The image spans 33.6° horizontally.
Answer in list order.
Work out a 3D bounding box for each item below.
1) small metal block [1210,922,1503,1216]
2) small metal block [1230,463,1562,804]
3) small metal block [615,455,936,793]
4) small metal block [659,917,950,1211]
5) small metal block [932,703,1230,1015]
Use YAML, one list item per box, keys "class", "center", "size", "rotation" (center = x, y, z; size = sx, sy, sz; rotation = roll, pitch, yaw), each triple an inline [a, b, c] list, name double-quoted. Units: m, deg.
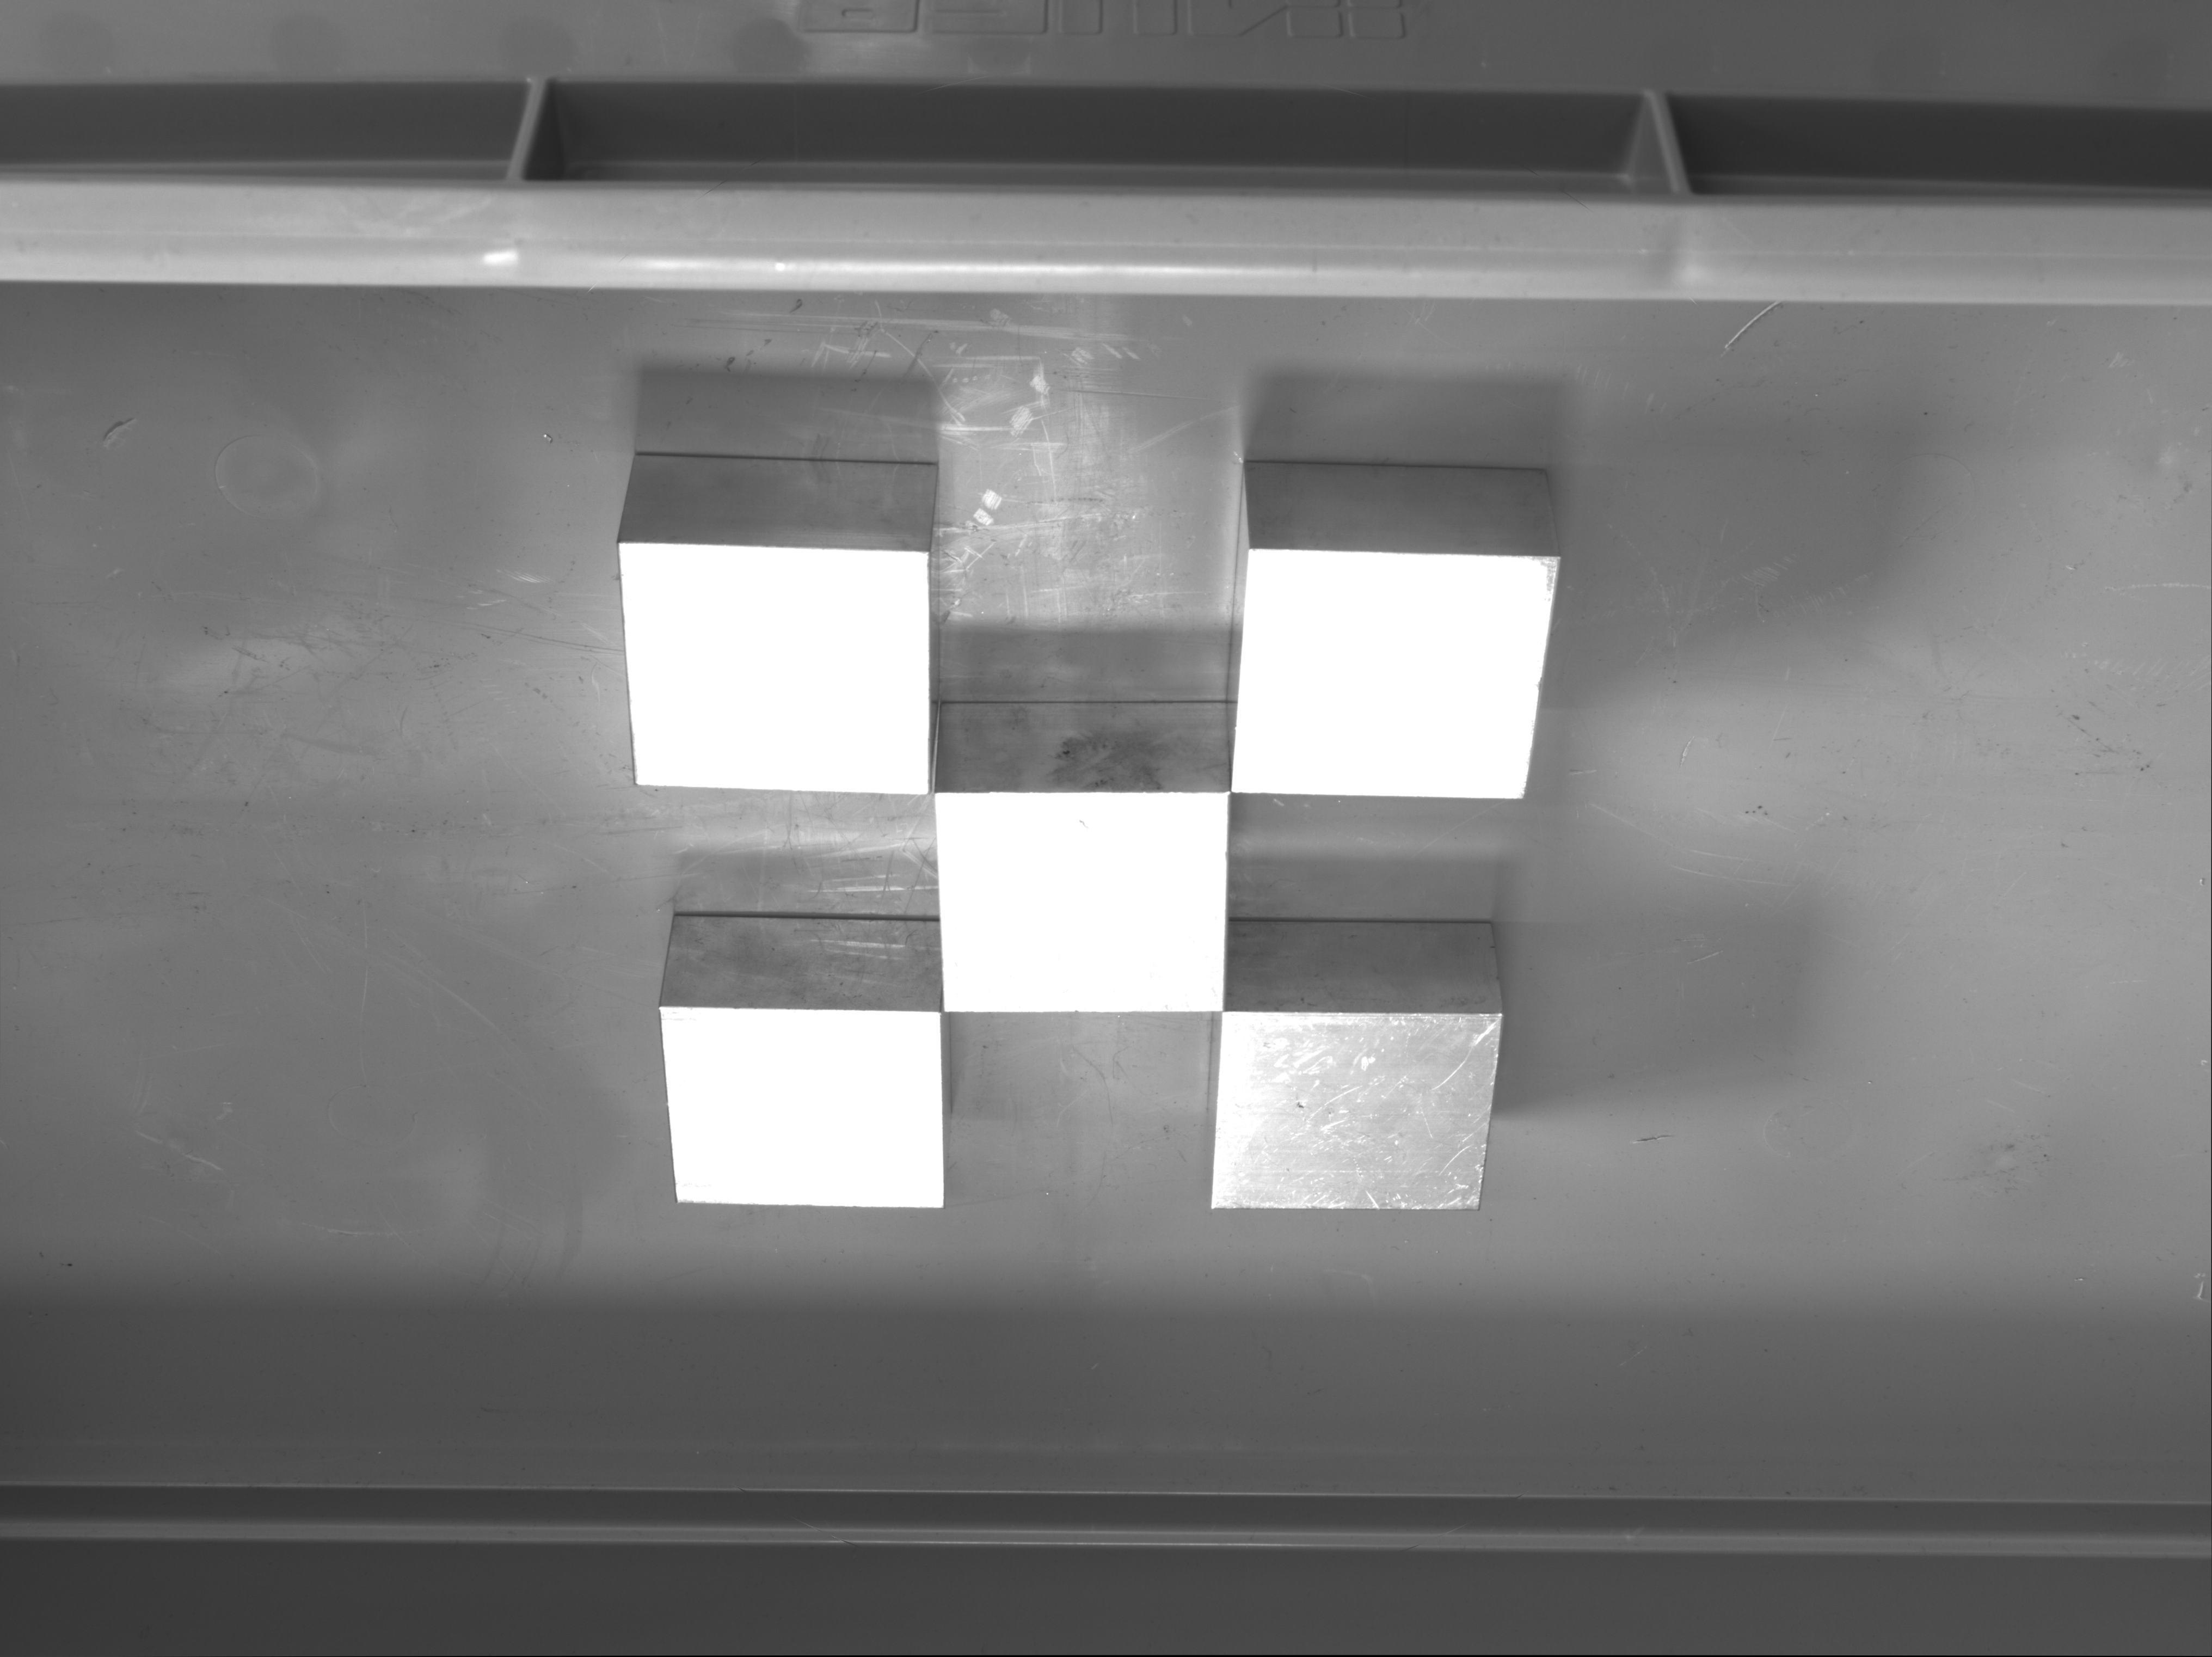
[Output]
- class: "small metal block"
  center: [0.045, 0.044, 0.674]
  size: [0.050, 0.025, 0.050]
  rotation: [1, 130, -1]
- class: "small metal block"
  center: [0.047, -0.032, 0.610]
  size: [0.050, 0.025, 0.050]
  rotation: [2, 130, -2]
- class: "small metal block"
  center: [-0.054, -0.034, 0.609]
  size: [0.050, 0.025, 0.050]
  rotation: [1, 130, -1]
- class: "small metal block"
  center: [-0.054, 0.044, 0.673]
  size: [0.050, 0.025, 0.050]
  rotation: [0, 130, 0]
- class: "small metal block"
  center: [-0.004, 0.006, 0.641]
  size: [0.050, 0.025, 0.050]
  rotation: [0, 130, 0]
